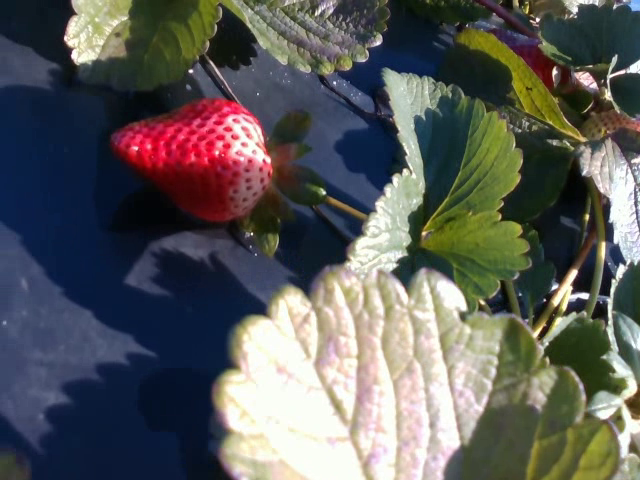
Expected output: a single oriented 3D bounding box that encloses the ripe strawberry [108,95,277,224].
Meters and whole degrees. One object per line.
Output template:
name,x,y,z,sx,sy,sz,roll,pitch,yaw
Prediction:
ripe strawberry,-0.035,-0.022,0.171,0.055,0.042,0.044,5,-1,-33
